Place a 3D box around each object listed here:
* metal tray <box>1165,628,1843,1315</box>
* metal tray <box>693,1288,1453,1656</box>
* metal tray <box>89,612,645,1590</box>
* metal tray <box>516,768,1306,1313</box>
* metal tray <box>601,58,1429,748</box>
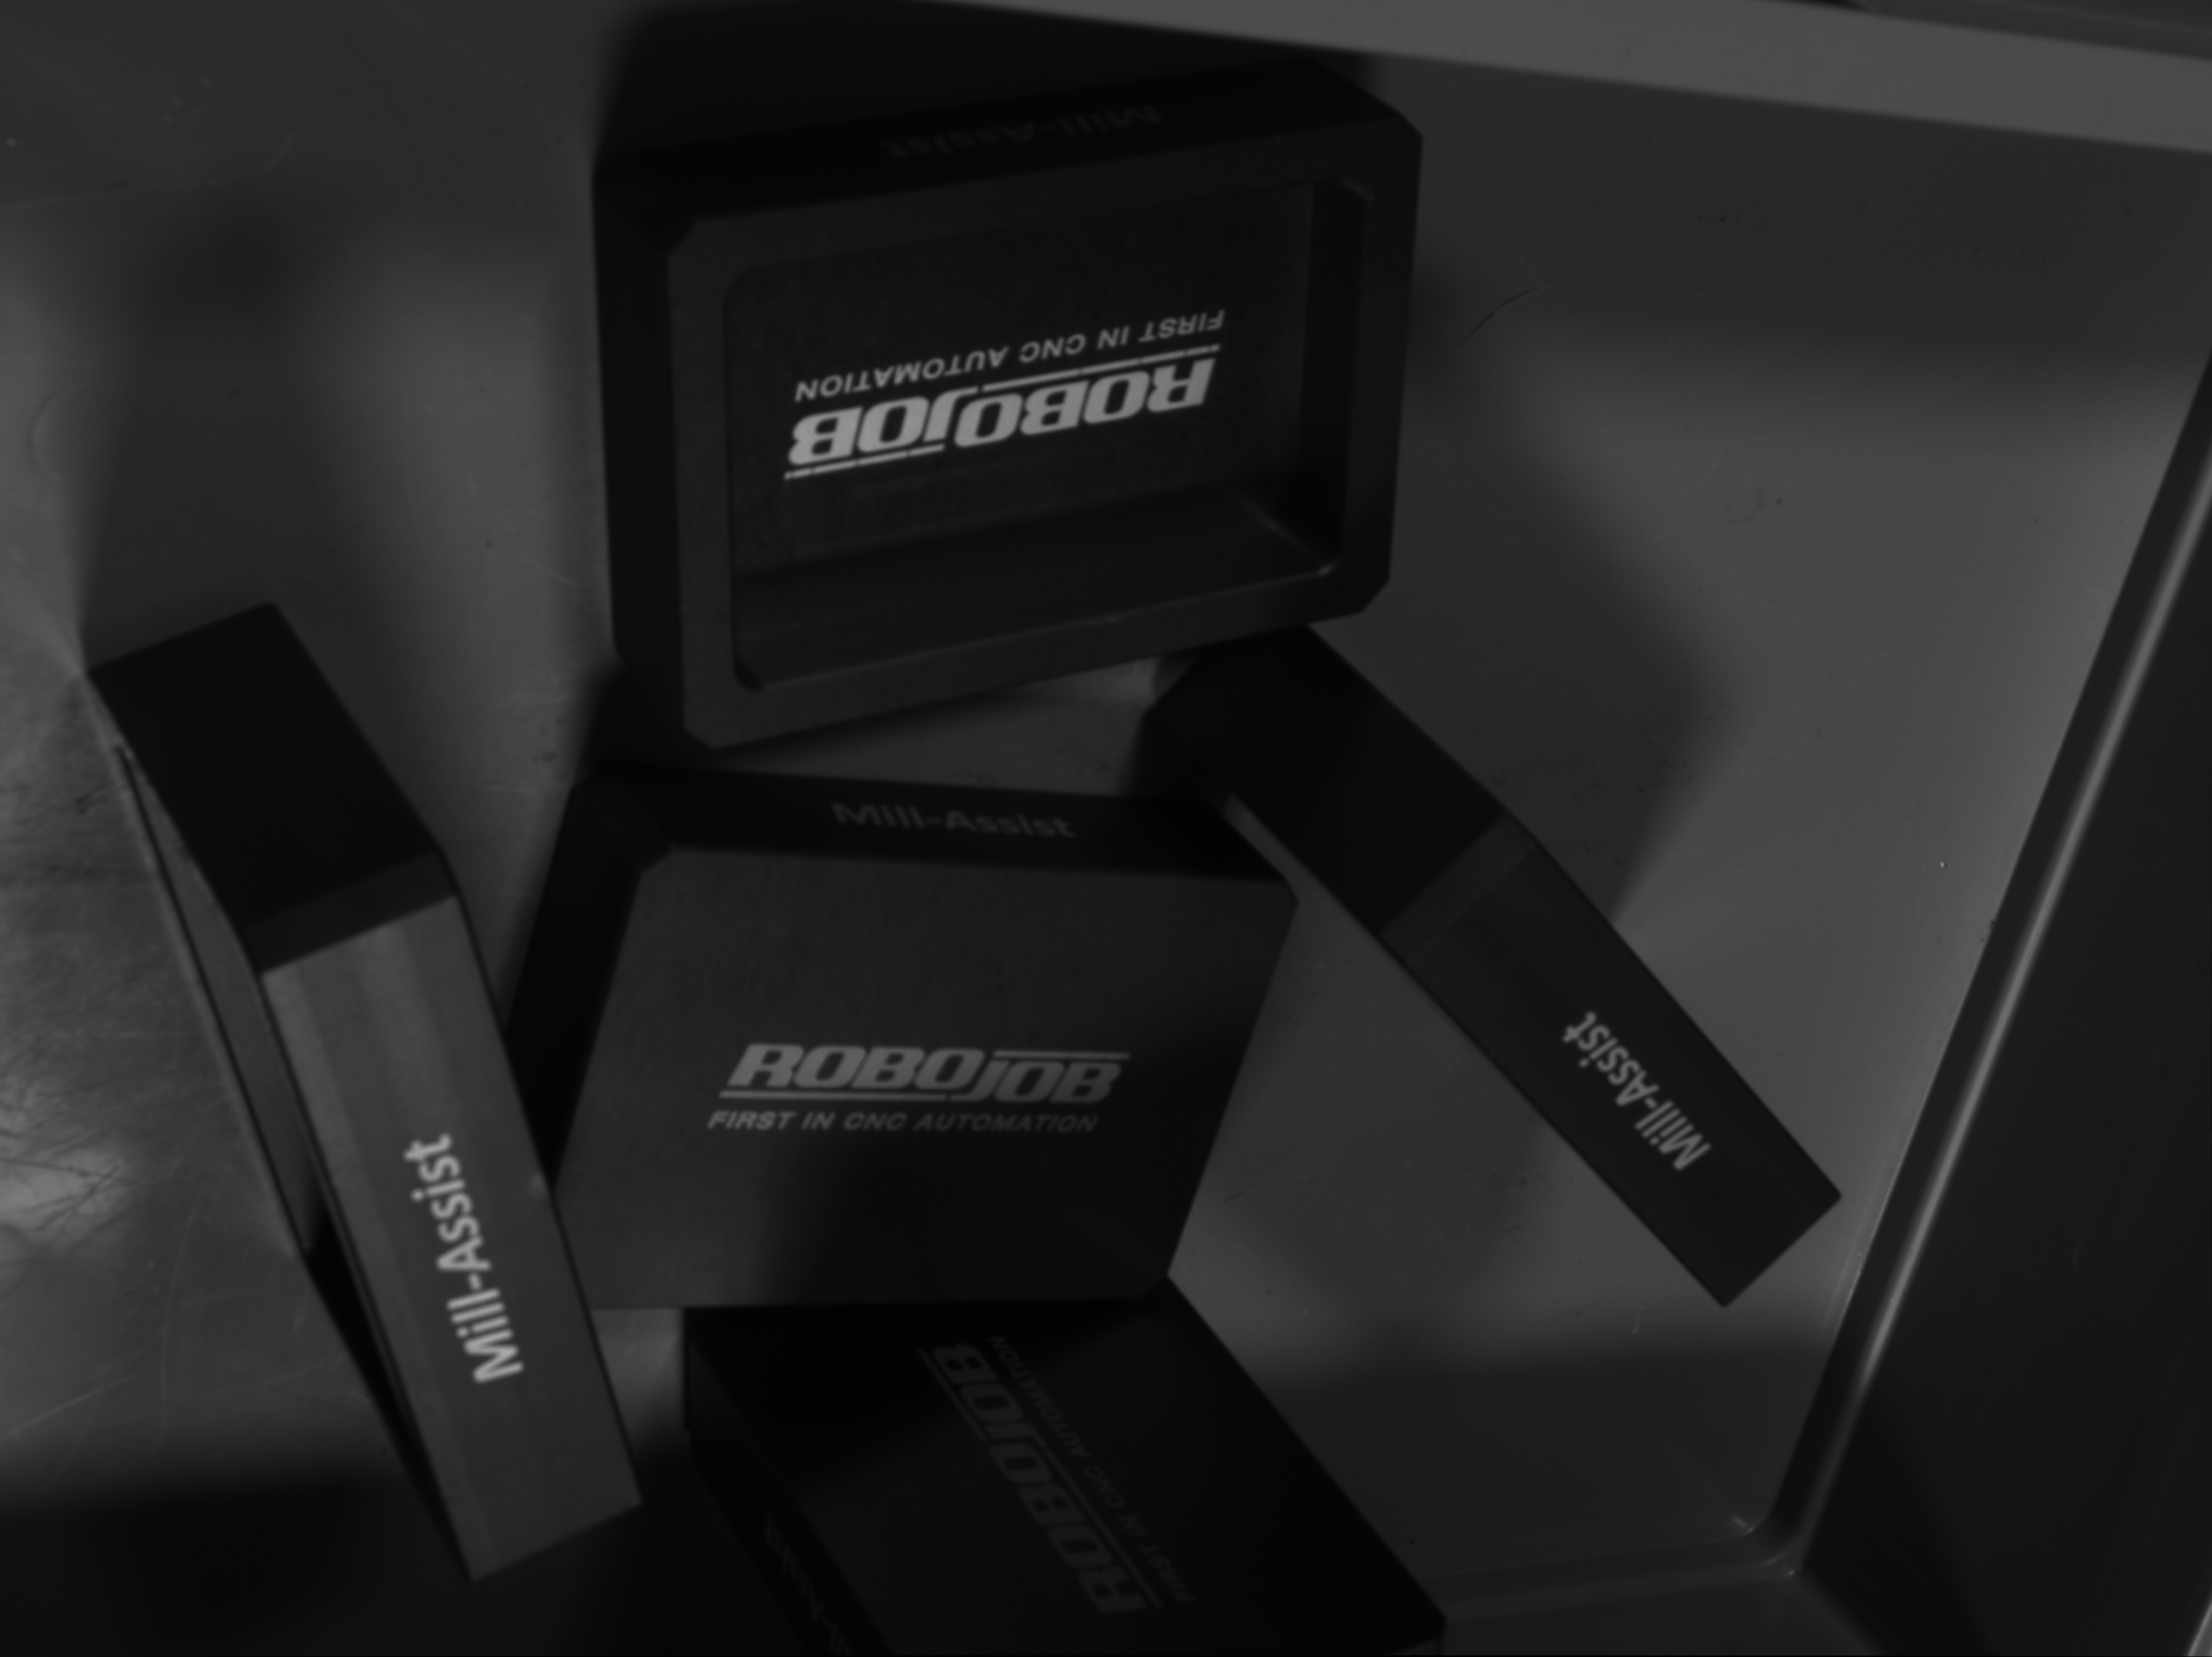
[{"bbox_3d":[0.073,0.025,0.663,0.030,0.090,0.130,-43,130,1],"label":"metal tray"},{"bbox_3d":[-0.009,0.128,0.652,0.090,0.130,0.030,-12,124,-24],"label":"metal tray"},{"bbox_3d":[-0.114,0.043,0.566,0.030,0.090,0.130,-23,128,-18],"label":"metal tray"},{"bbox_3d":[-0.037,0.039,0.647,0.130,0.030,0.090,4,116,-32],"label":"metal tray"},{"bbox_3d":[-0.014,-0.070,0.594,0.130,0.030,0.090,-13,124,-23],"label":"metal tray"}]
